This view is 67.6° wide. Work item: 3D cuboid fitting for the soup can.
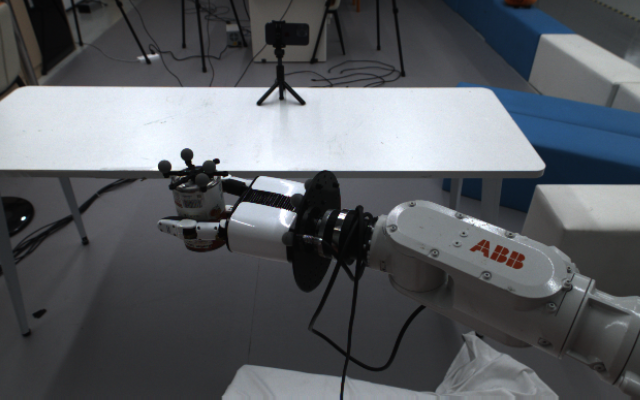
[{"bbox_3d":[-0.164,0.014,0.673,0.067,0.101,0.067,-1,32,1],"label":"soup can"}]
